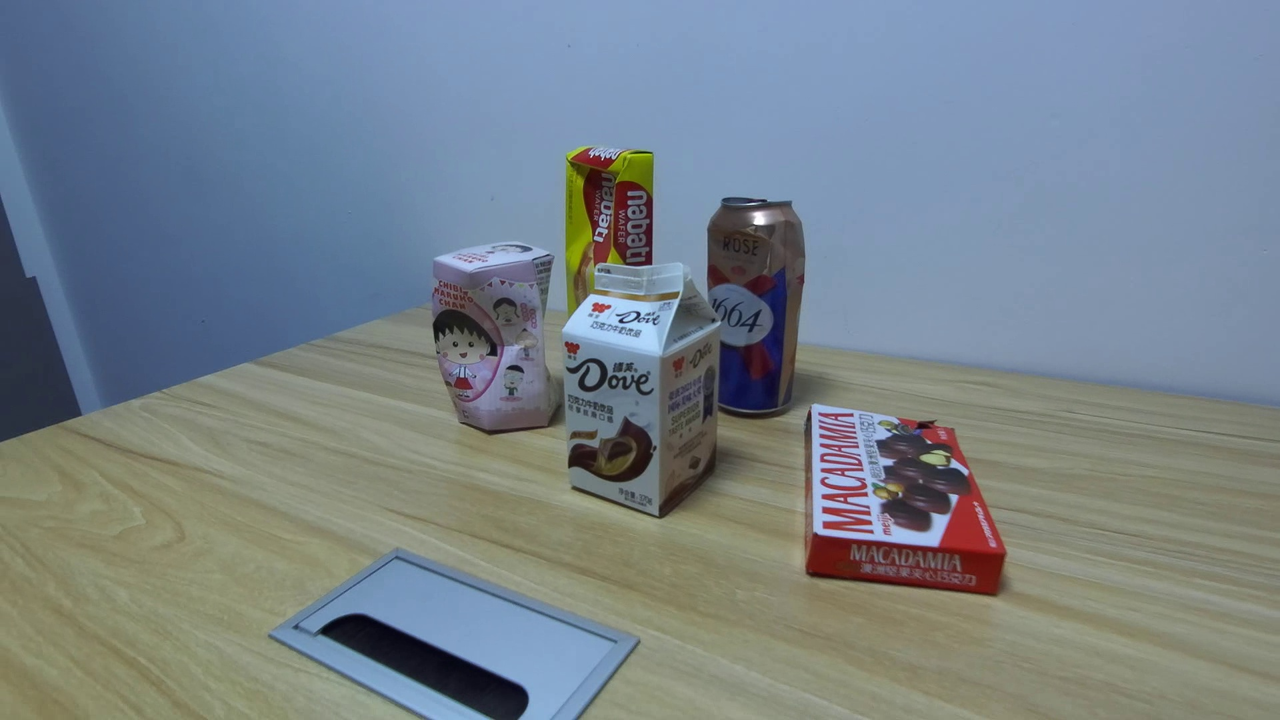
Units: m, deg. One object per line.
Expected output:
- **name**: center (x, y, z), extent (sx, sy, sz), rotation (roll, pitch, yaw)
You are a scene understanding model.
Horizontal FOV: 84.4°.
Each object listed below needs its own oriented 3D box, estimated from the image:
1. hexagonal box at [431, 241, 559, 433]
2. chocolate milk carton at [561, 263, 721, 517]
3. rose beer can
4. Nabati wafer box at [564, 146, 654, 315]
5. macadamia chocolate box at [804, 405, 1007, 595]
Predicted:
- **hexagonal box**: center (-0.111, -0.019, 0.561), extent (0.088, 0.134, 0.093), rotation (0, 20, 7)
- **chocolate milk carton**: center (0.002, 0.010, 0.443), extent (0.075, 0.148, 0.074), rotation (13, 25, 32)
- **rose beer can**: center (0.090, -0.042, 0.554), extent (0.065, 0.167, 0.075), rotation (-9, 20, -26)
- **Nabati wafer box**: center (-0.029, -0.081, 0.625), extent (0.042, 0.203, 0.096), rotation (-10, 21, -27)
- **macadamia chocolate box**: center (0.155, 0.073, 0.440), extent (0.102, 0.027, 0.187), rotation (4, 21, 11)
